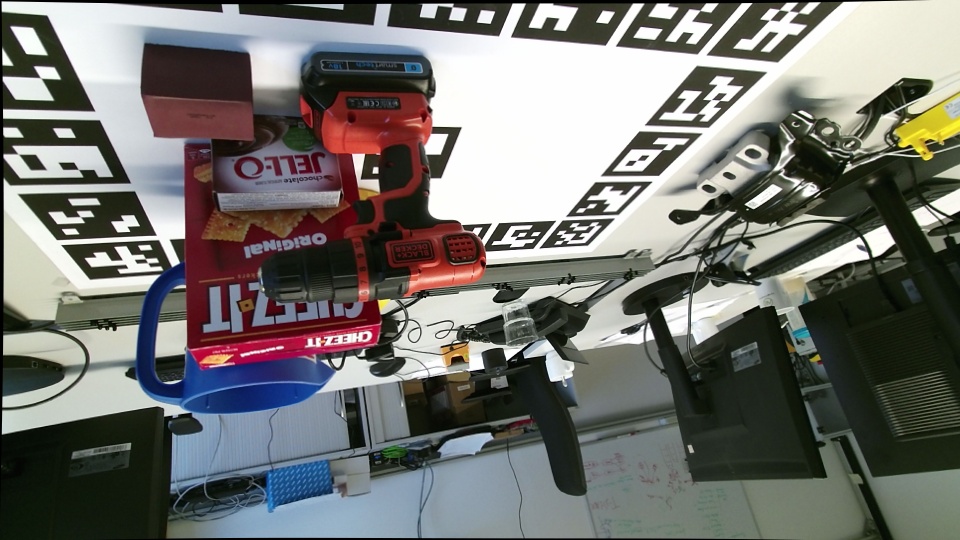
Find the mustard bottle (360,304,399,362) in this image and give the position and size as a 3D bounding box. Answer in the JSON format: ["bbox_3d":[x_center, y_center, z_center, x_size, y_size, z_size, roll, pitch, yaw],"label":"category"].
[{"bbox_3d":[-0.148,0.018,0.644,0.096,0.190,0.058,1,151,-33],"label":"mustard bottle"}]

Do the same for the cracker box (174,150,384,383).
[{"bbox_3d":[-0.197,-0.015,0.524,0.165,0.212,0.072,-9,158,-21],"label":"cracker box"}]

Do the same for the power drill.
[{"bbox_3d":[-0.096,-0.058,0.450,0.185,0.186,0.057,-5,158,-20],"label":"power drill"}]

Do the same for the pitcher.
[{"bbox_3d":[-0.269,0.039,0.591,0.189,0.241,0.133,-4,154,-28],"label":"pitcher"}]

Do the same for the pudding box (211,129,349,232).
[{"bbox_3d":[-0.189,-0.086,0.507,0.114,0.089,0.039,-8,157,-23],"label":"pudding box"}]

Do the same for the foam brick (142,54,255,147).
[{"bbox_3d":[-0.231,-0.139,0.445,0.078,0.051,0.053,-4,153,-23],"label":"foam brick"}]
